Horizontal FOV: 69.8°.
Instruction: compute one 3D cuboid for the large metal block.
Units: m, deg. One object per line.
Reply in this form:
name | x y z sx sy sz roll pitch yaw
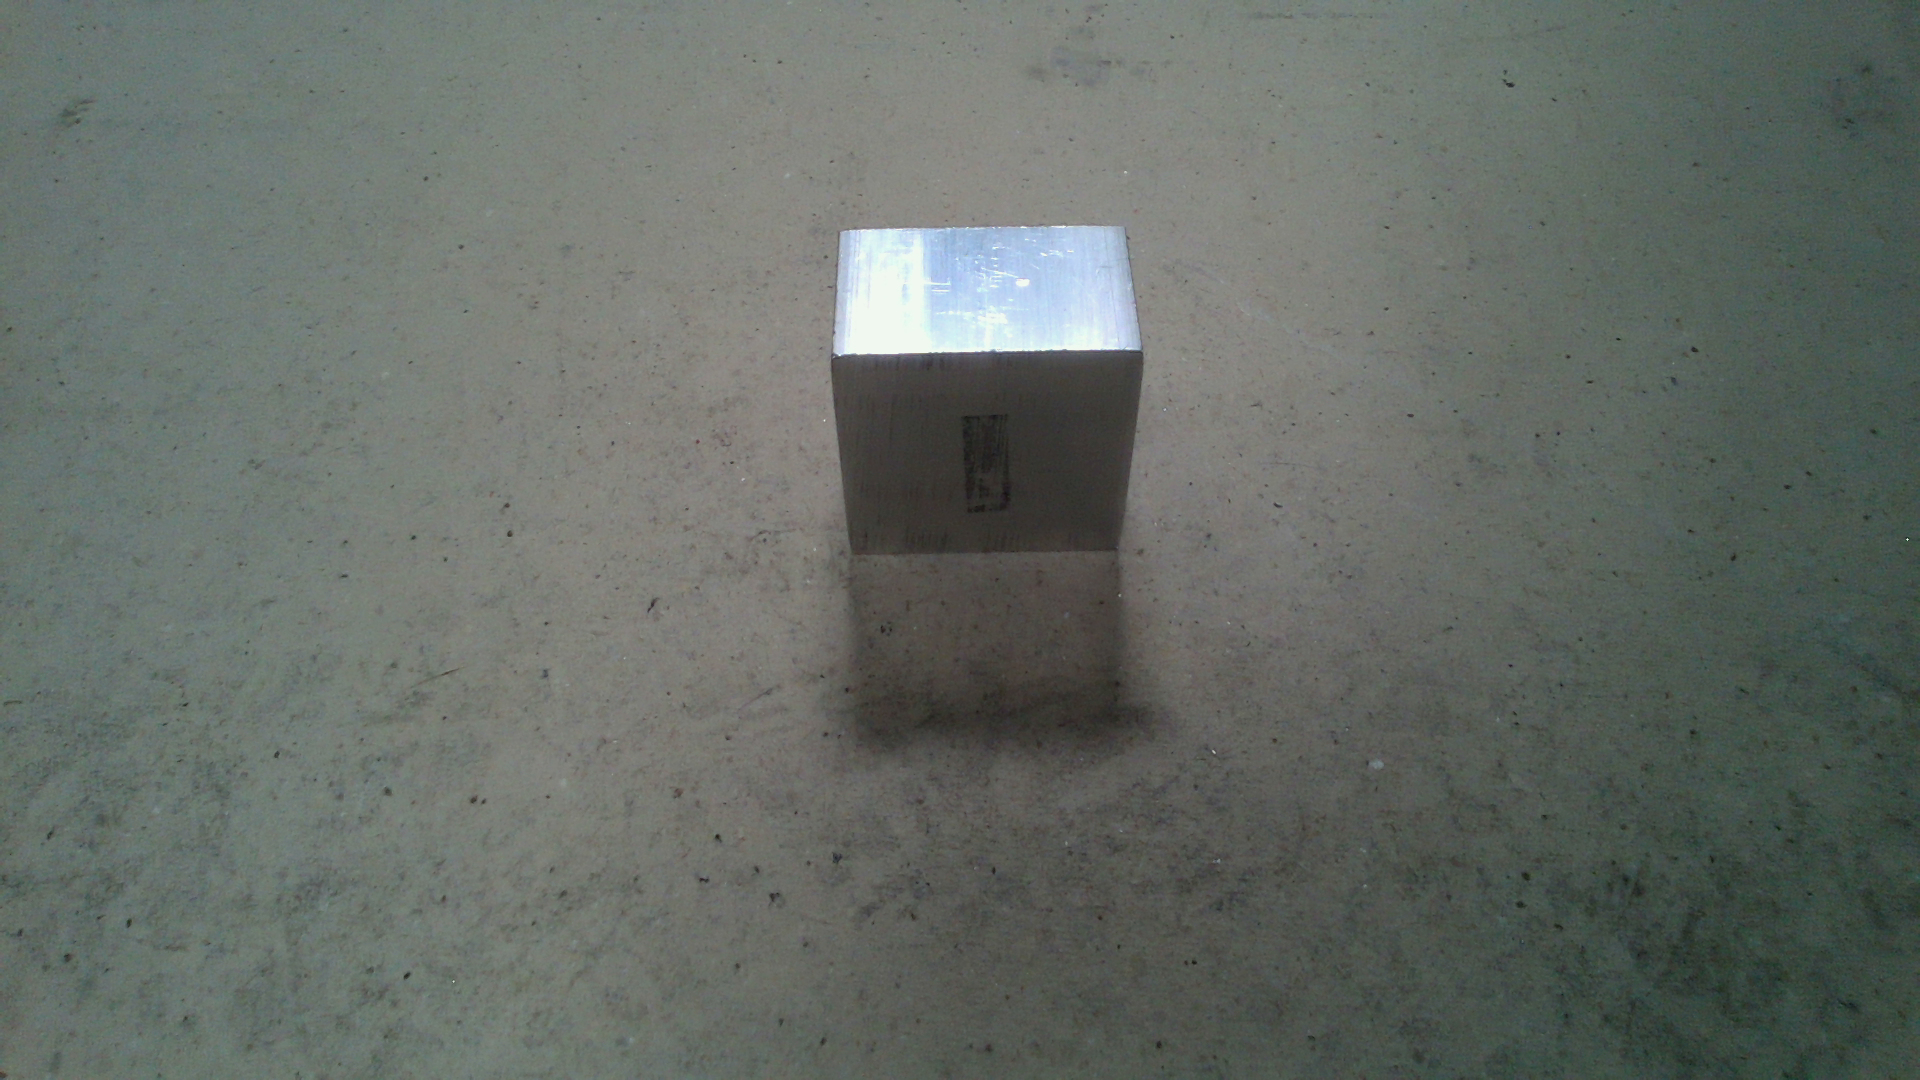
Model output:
large metal block | 0.007 -0.041 0.391 0.080 0.080 0.050 -1 50 -1
